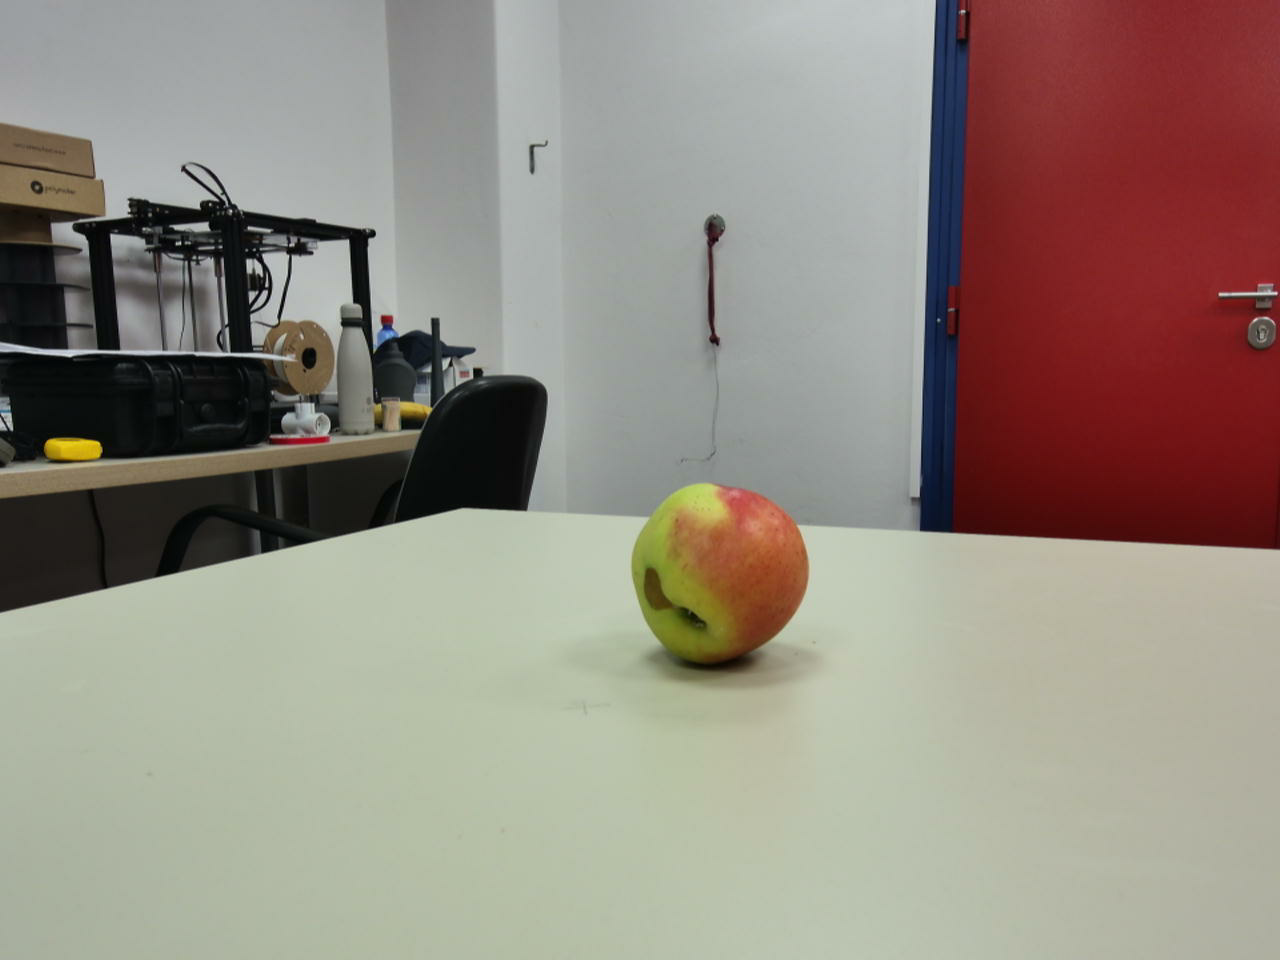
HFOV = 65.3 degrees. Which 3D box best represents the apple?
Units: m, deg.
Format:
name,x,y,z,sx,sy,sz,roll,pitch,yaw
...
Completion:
name,x,y,z,sx,sy,sz,roll,pitch,yaw
apple,0.034,0.039,0.428,0.075,0.074,0.075,0,3,5
